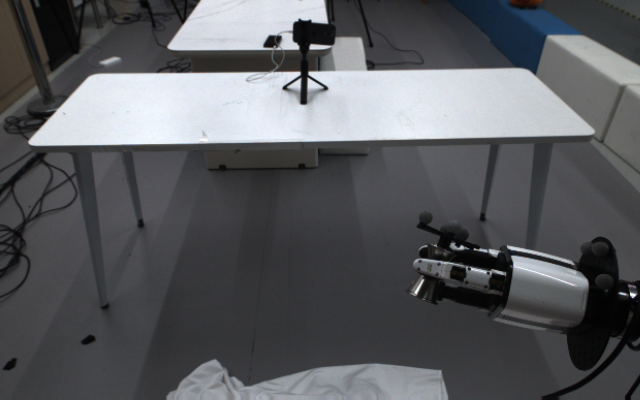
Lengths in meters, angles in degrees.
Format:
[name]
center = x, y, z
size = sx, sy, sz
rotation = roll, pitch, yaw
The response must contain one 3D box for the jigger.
[jigger]
center = 0.140, 0.092, 0.613
size = 0.043, 0.071, 0.043
rotation = 24, -3, 1
